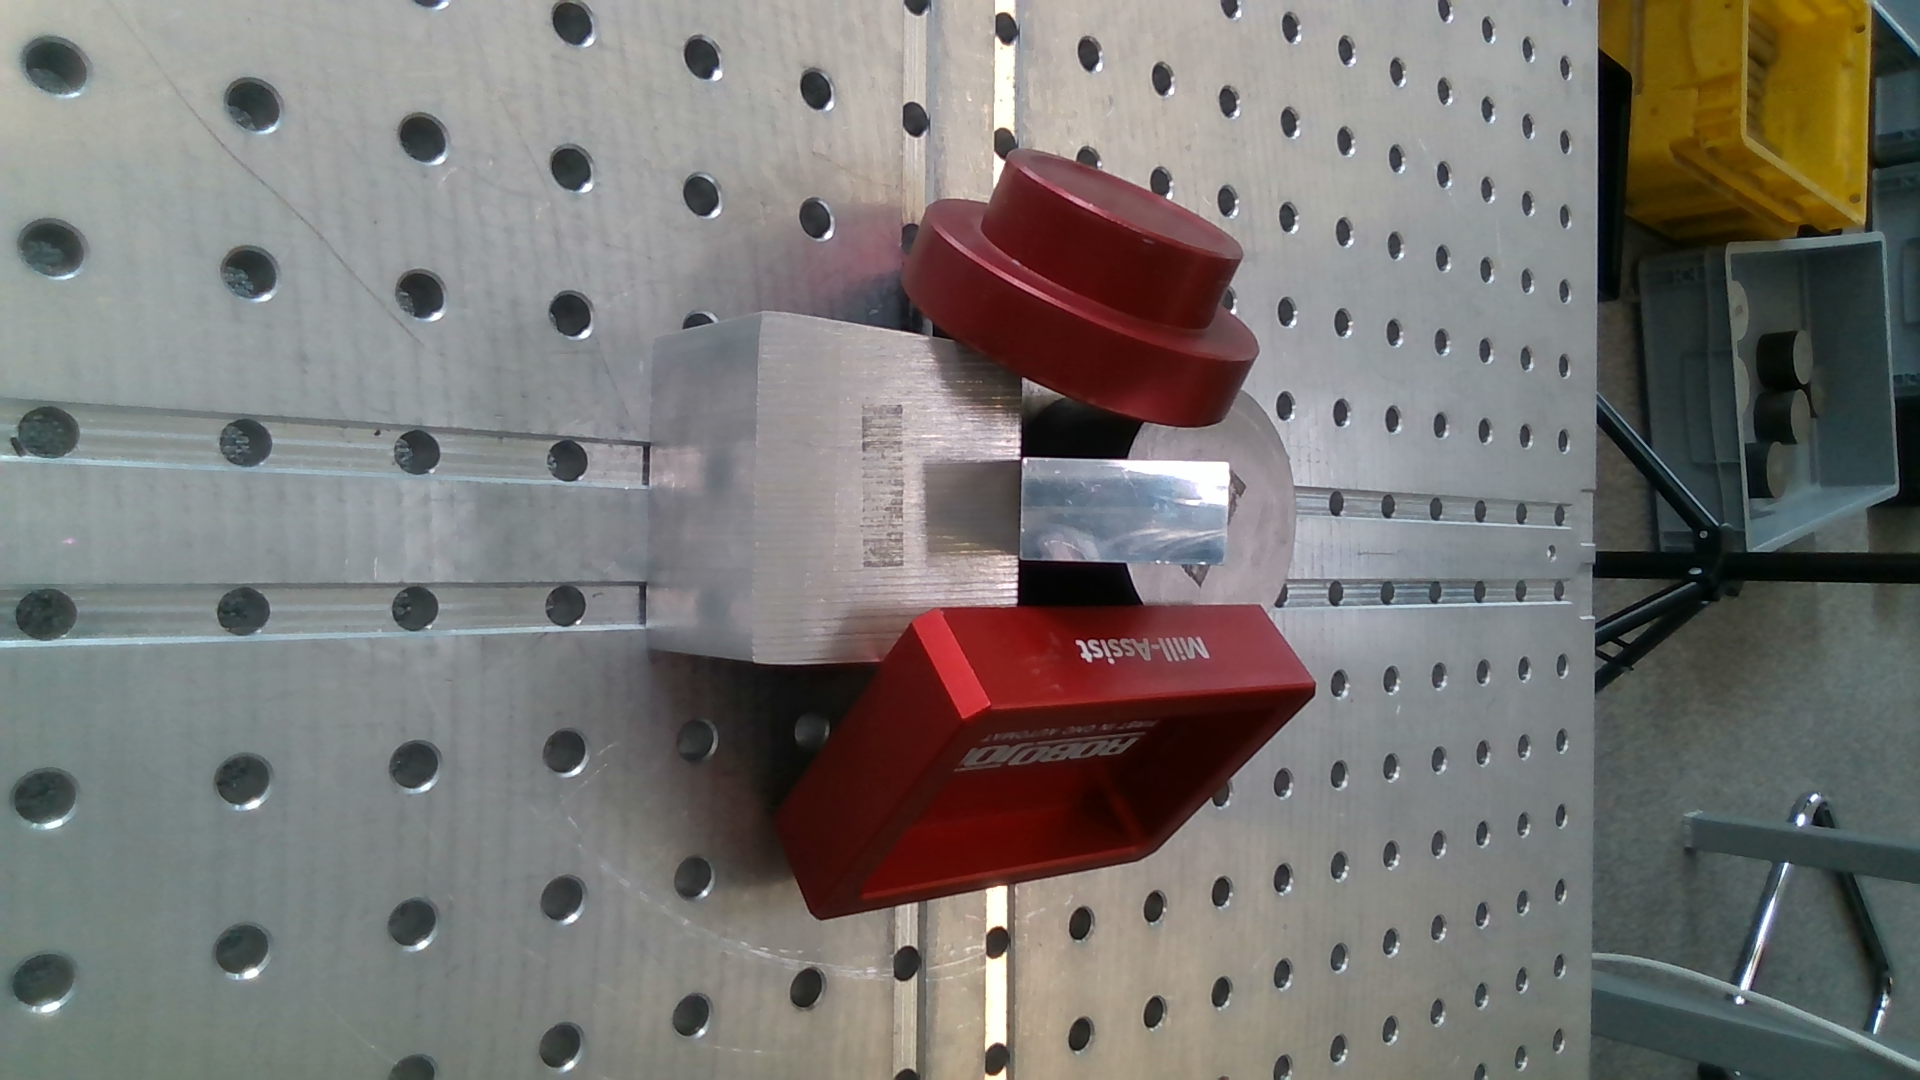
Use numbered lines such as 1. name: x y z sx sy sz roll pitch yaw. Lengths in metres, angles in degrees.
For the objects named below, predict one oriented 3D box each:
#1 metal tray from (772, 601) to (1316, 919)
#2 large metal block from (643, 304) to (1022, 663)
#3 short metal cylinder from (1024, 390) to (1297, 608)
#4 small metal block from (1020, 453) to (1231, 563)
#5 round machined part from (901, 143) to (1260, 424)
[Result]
1. metal tray: 0.025 0.057 0.375 0.130 0.090 0.030 1 46 -40
2. large metal block: -0.031 -0.011 0.351 0.080 0.050 0.080 3 88 -40
3. short metal cylinder: 0.060 -0.009 0.427 0.080 0.050 0.080 0 90 -40
4. small metal block: 0.041 -0.009 0.357 0.050 0.050 0.025 2 92 2
5. round machined part: 0.037 -0.074 0.372 0.098 0.098 0.042 2 122 -40
